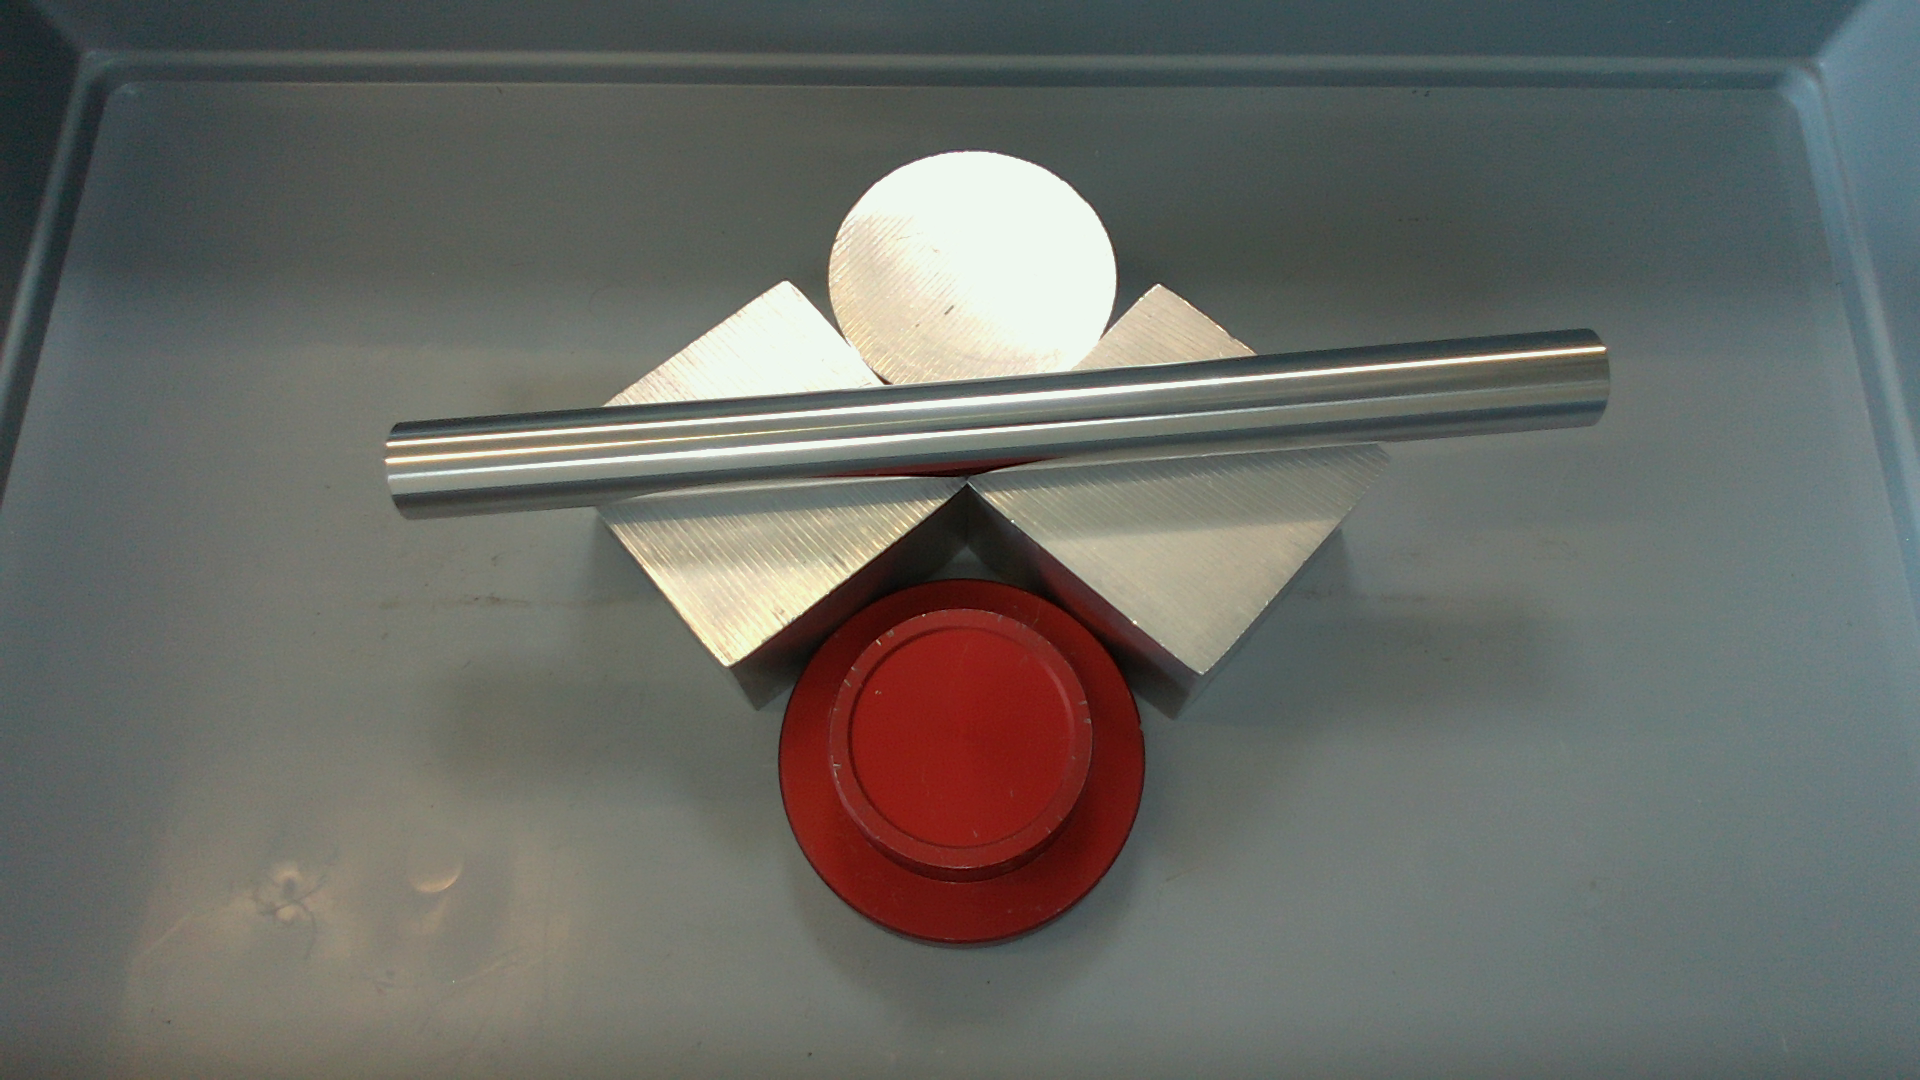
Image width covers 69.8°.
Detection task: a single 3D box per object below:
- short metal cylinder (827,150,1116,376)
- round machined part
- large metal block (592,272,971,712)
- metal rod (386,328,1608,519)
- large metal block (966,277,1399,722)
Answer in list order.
[{"bbox_3d":[0.003,-0.066,0.404,0.080,0.050,0.080,0,70,0],"label":"short metal cylinder"},{"bbox_3d":[0.000,0.056,0.363,0.098,0.042,0.098,0,70,0],"label":"round machined part"},{"bbox_3d":[-0.054,-0.013,0.384,0.080,0.050,0.080,-38,76,-13],"label":"large metal block"},{"bbox_3d":[0.010,-0.030,0.349,0.300,0.025,0.025,-5,70,-1],"label":"metal rod"},{"bbox_3d":[0.058,-0.010,0.381,0.080,0.050,0.080,40,76,13],"label":"large metal block"}]
